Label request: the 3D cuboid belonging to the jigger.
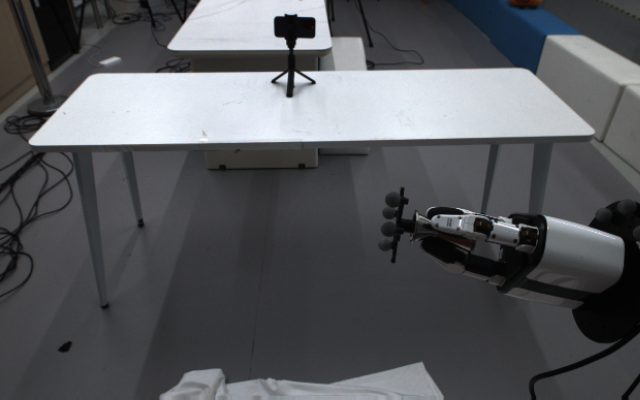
[{"bbox_3d":[0.147,0.031,0.556,0.071,0.043,0.043,7,35,5],"label":"jigger"}]
